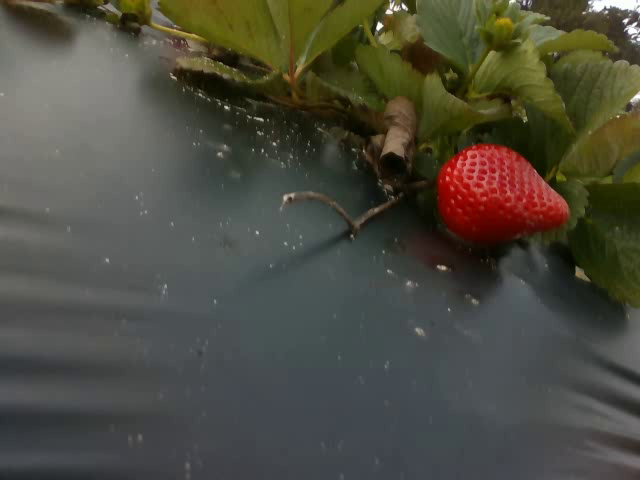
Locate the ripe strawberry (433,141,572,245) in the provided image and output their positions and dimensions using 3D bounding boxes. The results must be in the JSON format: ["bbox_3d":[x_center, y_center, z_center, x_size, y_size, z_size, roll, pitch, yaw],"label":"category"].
[{"bbox_3d":[0.056,-0.016,0.182,0.037,0.037,0.046,-36,43,-23],"label":"ripe strawberry"}]
